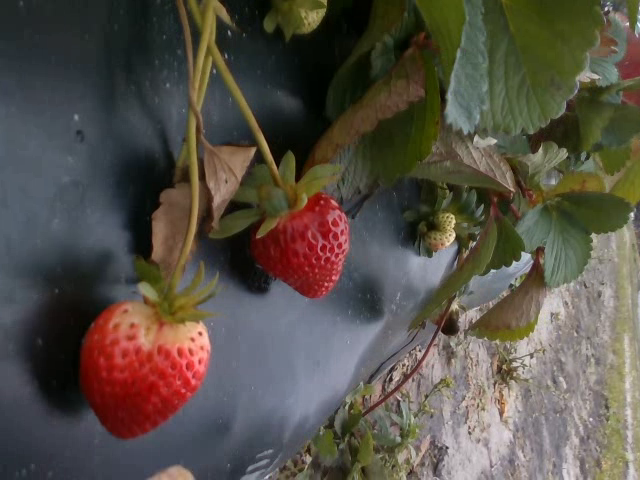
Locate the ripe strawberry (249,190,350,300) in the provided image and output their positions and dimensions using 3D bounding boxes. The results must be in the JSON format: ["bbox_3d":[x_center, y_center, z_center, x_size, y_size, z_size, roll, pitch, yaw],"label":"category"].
[{"bbox_3d":[-0.004,0.003,0.221,0.044,0.059,0.041,-29,46,-17],"label":"ripe strawberry"}]

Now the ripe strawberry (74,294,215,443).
[{"bbox_3d":[-0.043,0.036,0.159,0.027,0.041,0.036,28,13,31],"label":"ripe strawberry"}]
